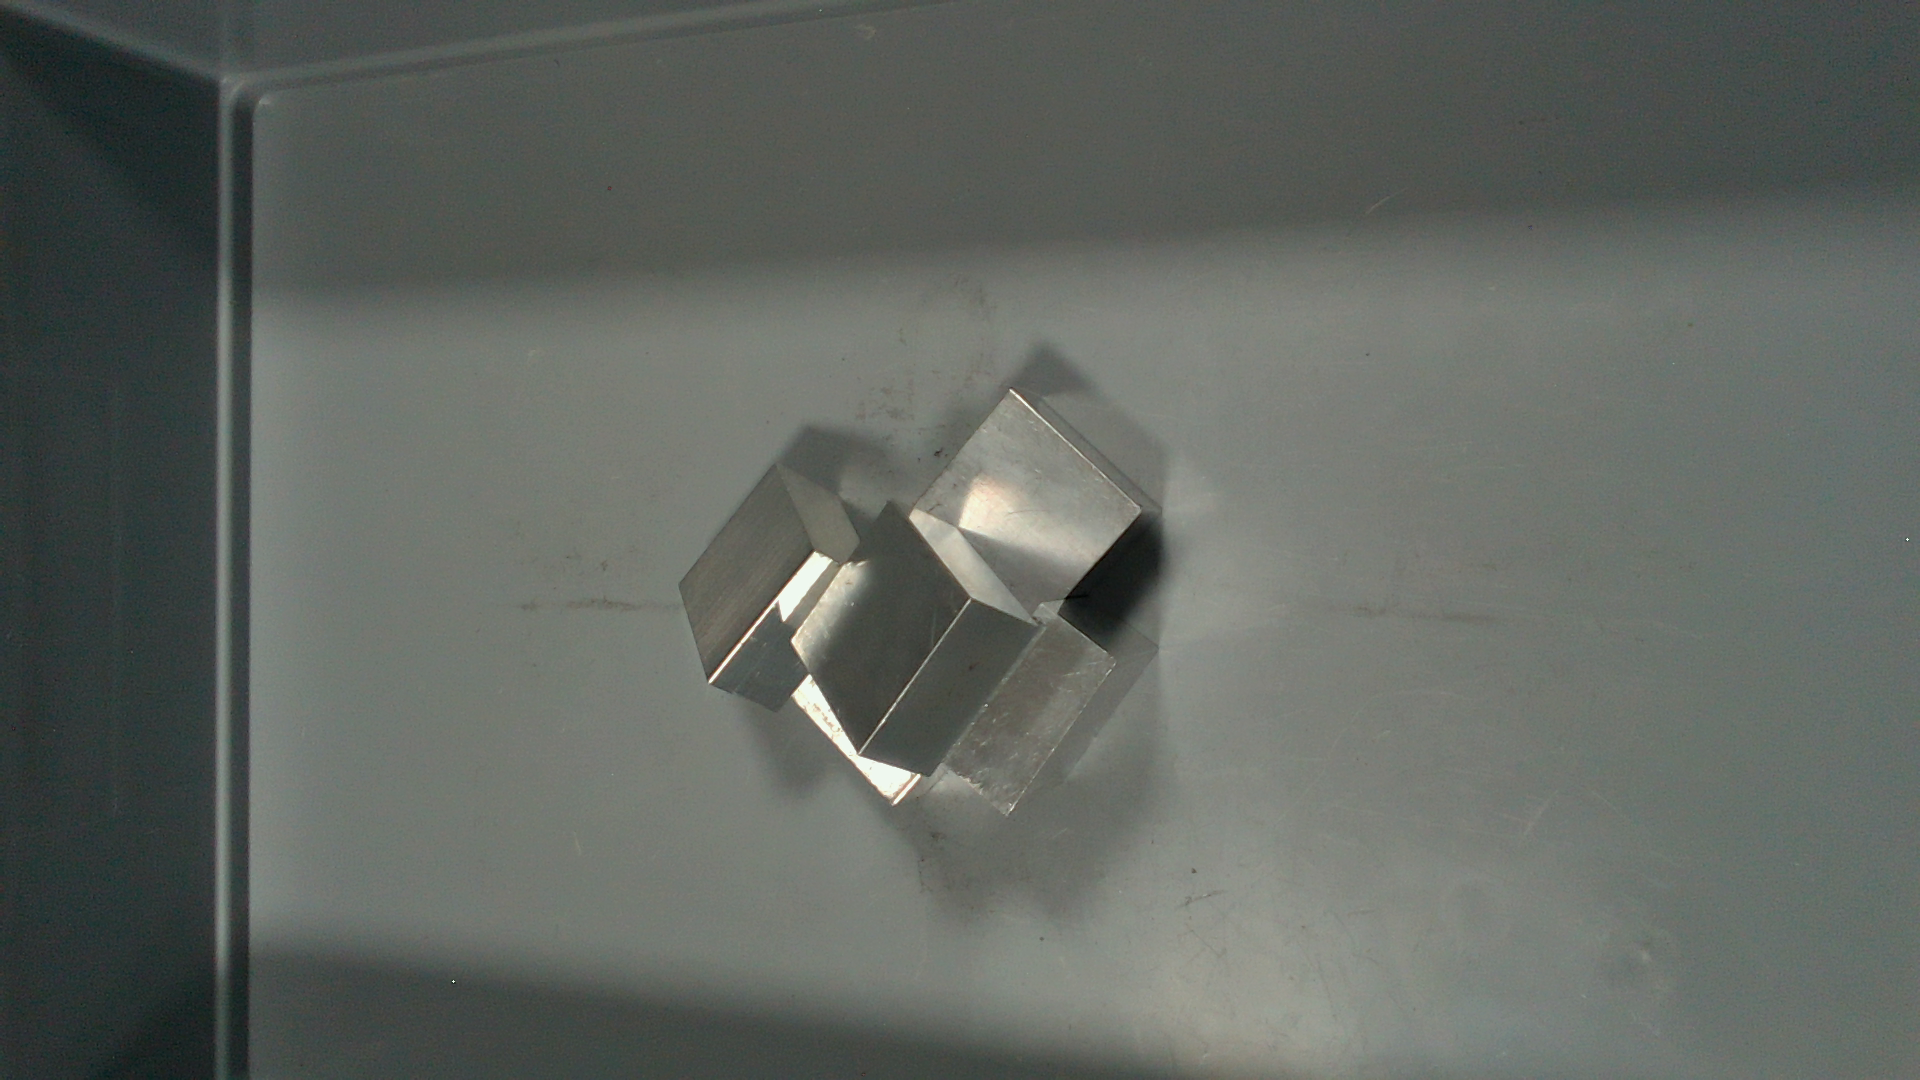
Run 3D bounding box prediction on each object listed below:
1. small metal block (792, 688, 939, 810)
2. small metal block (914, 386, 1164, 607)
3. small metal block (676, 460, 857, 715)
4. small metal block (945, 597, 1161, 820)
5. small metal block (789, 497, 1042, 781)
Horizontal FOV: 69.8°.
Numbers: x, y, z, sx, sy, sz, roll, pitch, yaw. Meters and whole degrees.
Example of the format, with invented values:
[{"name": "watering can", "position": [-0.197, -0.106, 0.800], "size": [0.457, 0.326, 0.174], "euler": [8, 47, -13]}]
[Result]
[{"name": "small metal block", "position": [-0.016, 0.041, 0.400], "size": [0.050, 0.025, 0.050], "euler": [44, 104, 15]}, {"name": "small metal block", "position": [0.020, -0.007, 0.387], "size": [0.050, 0.025, 0.050], "euler": [44, 104, 15]}, {"name": "small metal block", "position": [-0.054, 0.013, 0.401], "size": [0.050, 0.025, 0.050], "euler": [-50, 36, 14]}, {"name": "small metal block", "position": [0.025, 0.043, 0.372], "size": [0.025, 0.050, 0.050], "euler": [37, 102, 16]}, {"name": "small metal block", "position": [-0.013, 0.025, 0.360], "size": [0.050, 0.025, 0.050], "euler": [-54, 40, 12]}]
